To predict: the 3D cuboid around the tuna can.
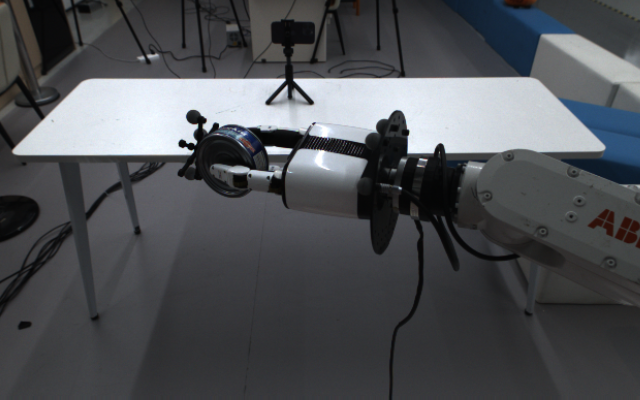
[{"bbox_3d":[-0.103,-0.043,0.591,0.085,0.085,0.034,13,31,16],"label":"tuna can"}]
